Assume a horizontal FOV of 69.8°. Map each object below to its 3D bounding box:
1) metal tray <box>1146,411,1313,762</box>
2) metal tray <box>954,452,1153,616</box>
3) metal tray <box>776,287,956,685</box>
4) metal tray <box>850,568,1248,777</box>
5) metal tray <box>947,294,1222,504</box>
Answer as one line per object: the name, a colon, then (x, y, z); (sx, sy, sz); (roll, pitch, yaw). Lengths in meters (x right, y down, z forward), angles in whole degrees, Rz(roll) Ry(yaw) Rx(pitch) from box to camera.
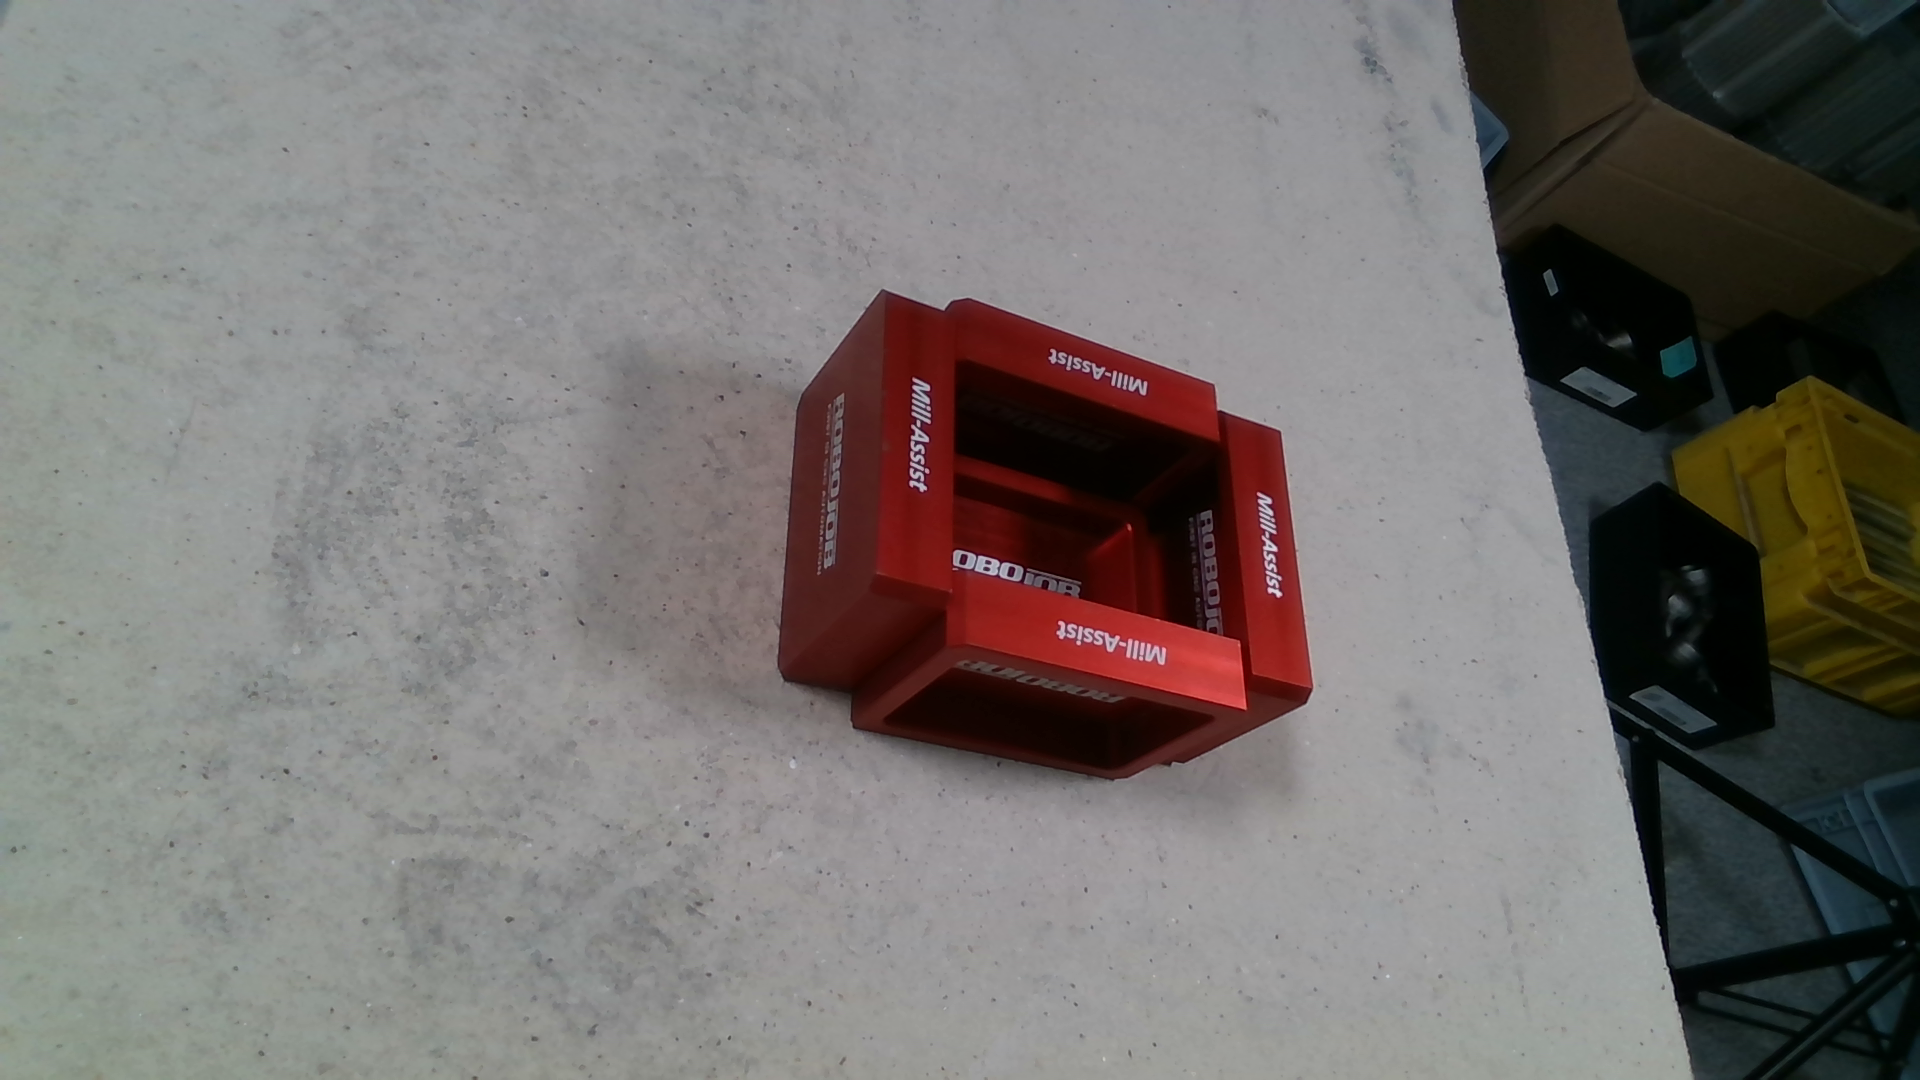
metal tray: (0.105, 0.020, 0.597); (0.030, 0.090, 0.130); (15, 58, -24)
metal tray: (0.020, 0.015, 0.587); (0.130, 0.030, 0.090); (15, 58, -25)
metal tray: (-0.036, -0.020, 0.532); (0.030, 0.090, 0.130); (15, 58, -24)
metal tray: (0.034, 0.055, 0.534); (0.130, 0.090, 0.030); (15, 58, -24)
metal tray: (0.035, -0.051, 0.592); (0.130, 0.090, 0.030); (15, 58, -24)
